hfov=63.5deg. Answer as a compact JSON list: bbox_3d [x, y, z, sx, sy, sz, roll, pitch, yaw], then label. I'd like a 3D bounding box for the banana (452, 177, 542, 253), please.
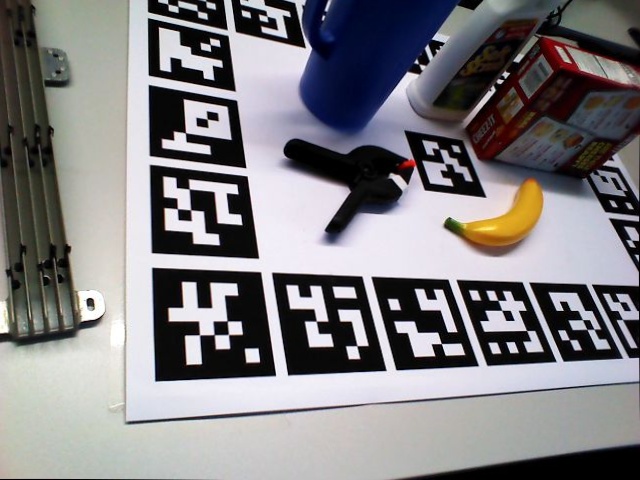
[{"bbox_3d":[0.249,-0.031,0.679,0.074,0.039,0.196,47,51,11],"label":"banana"}]

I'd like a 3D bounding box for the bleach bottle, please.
[{"bbox_3d":[0.215,-0.259,0.674,0.102,0.252,0.067,3,56,-24],"label":"bleach bottle"}]

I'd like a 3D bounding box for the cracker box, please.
[{"bbox_3d":[0.359,-0.173,0.719,0.213,0.165,0.071,4,53,-21],"label":"cracker box"}]

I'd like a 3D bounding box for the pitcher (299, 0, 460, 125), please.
[{"bbox_3d":[0.059,-0.245,0.564,0.188,0.244,0.133,-15,64,-36],"label":"pitcher"}]

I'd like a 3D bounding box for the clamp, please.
[{"bbox_3d":[0.047,-0.066,0.597,0.164,0.037,0.121,-13,62,-34],"label":"clamp"}]
